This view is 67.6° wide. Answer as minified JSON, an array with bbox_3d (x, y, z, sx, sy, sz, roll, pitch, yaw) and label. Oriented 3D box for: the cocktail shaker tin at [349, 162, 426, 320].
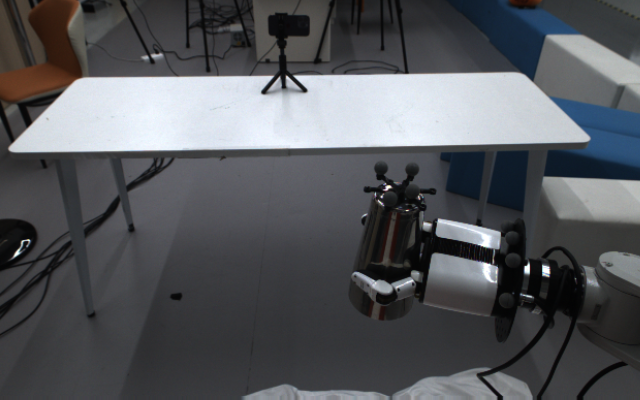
[{"bbox_3d":[0.094,0.064,0.639,0.093,0.170,0.093,3,34,-2],"label":"cocktail shaker tin"}]
